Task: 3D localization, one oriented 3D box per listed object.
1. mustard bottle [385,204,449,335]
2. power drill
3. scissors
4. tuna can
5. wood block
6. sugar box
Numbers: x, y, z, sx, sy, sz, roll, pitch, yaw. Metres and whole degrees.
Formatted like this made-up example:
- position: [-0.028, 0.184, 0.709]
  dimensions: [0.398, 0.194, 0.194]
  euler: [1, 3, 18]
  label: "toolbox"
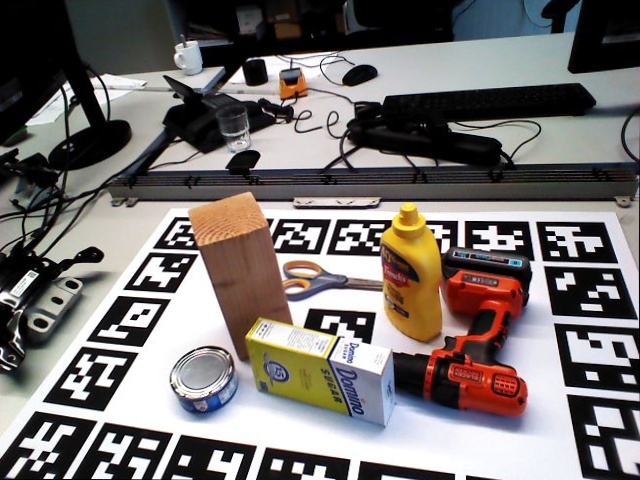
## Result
- position: [0.123, 0.031, 0.667]
  dimensions: [0.058, 0.192, 0.096]
  euler: [-26, 42, -16]
  label: "mustard bottle"
- position: [0.169, 0.109, 0.653]
  dimensions: [0.185, 0.057, 0.185]
  euler: [9, 50, 25]
  label: "power drill"
- position: [0.013, 0.052, 0.798]
  dimensions: [0.204, 0.016, 0.087]
  euler: [1, 36, 17]
  label: "scissors"
- position: [-0.148, 0.175, 0.669]
  dimensions: [0.086, 0.034, 0.085]
  euler: [-7, 40, 5]
  label: "tuna can"
- position: [-0.098, 0.050, 0.693]
  dimensions: [0.091, 0.207, 0.090]
  euler: [-18, 40, -8]
  label: "wood block"
- position: [0.011, 0.151, 0.617]
  dimensions: [0.177, 0.093, 0.045]
  euler: [10, 40, 23]
  label: "sugar box"
